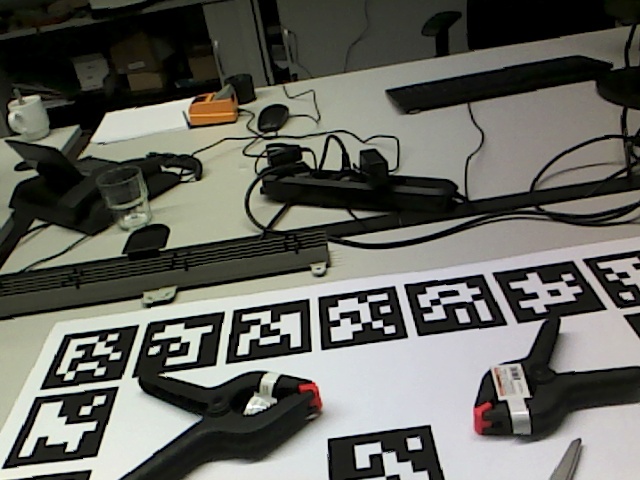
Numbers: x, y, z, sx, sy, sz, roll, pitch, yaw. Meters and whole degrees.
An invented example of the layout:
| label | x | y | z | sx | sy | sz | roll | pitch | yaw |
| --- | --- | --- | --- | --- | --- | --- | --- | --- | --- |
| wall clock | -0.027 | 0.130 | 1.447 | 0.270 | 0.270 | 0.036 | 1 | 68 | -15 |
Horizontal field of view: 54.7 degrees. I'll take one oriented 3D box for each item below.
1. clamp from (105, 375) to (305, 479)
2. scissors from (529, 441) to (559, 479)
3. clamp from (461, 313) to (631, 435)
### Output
| label | x | y | z | sx | sy | sz | roll | pitch | yaw |
| --- | --- | --- | --- | --- | --- | --- | --- | --- | --- |
| clamp | -0.116 | 0.184 | 0.639 | 0.203 | 0.036 | 0.166 | -10 | 29 | -1 |
| scissors | 0.152 | 0.232 | 0.498 | 0.088 | 0.016 | 0.202 | 22 | 42 | 30 |
| clamp | 0.207 | 0.143 | 0.617 | 0.164 | 0.036 | 0.123 | -25 | 42 | -20 |
